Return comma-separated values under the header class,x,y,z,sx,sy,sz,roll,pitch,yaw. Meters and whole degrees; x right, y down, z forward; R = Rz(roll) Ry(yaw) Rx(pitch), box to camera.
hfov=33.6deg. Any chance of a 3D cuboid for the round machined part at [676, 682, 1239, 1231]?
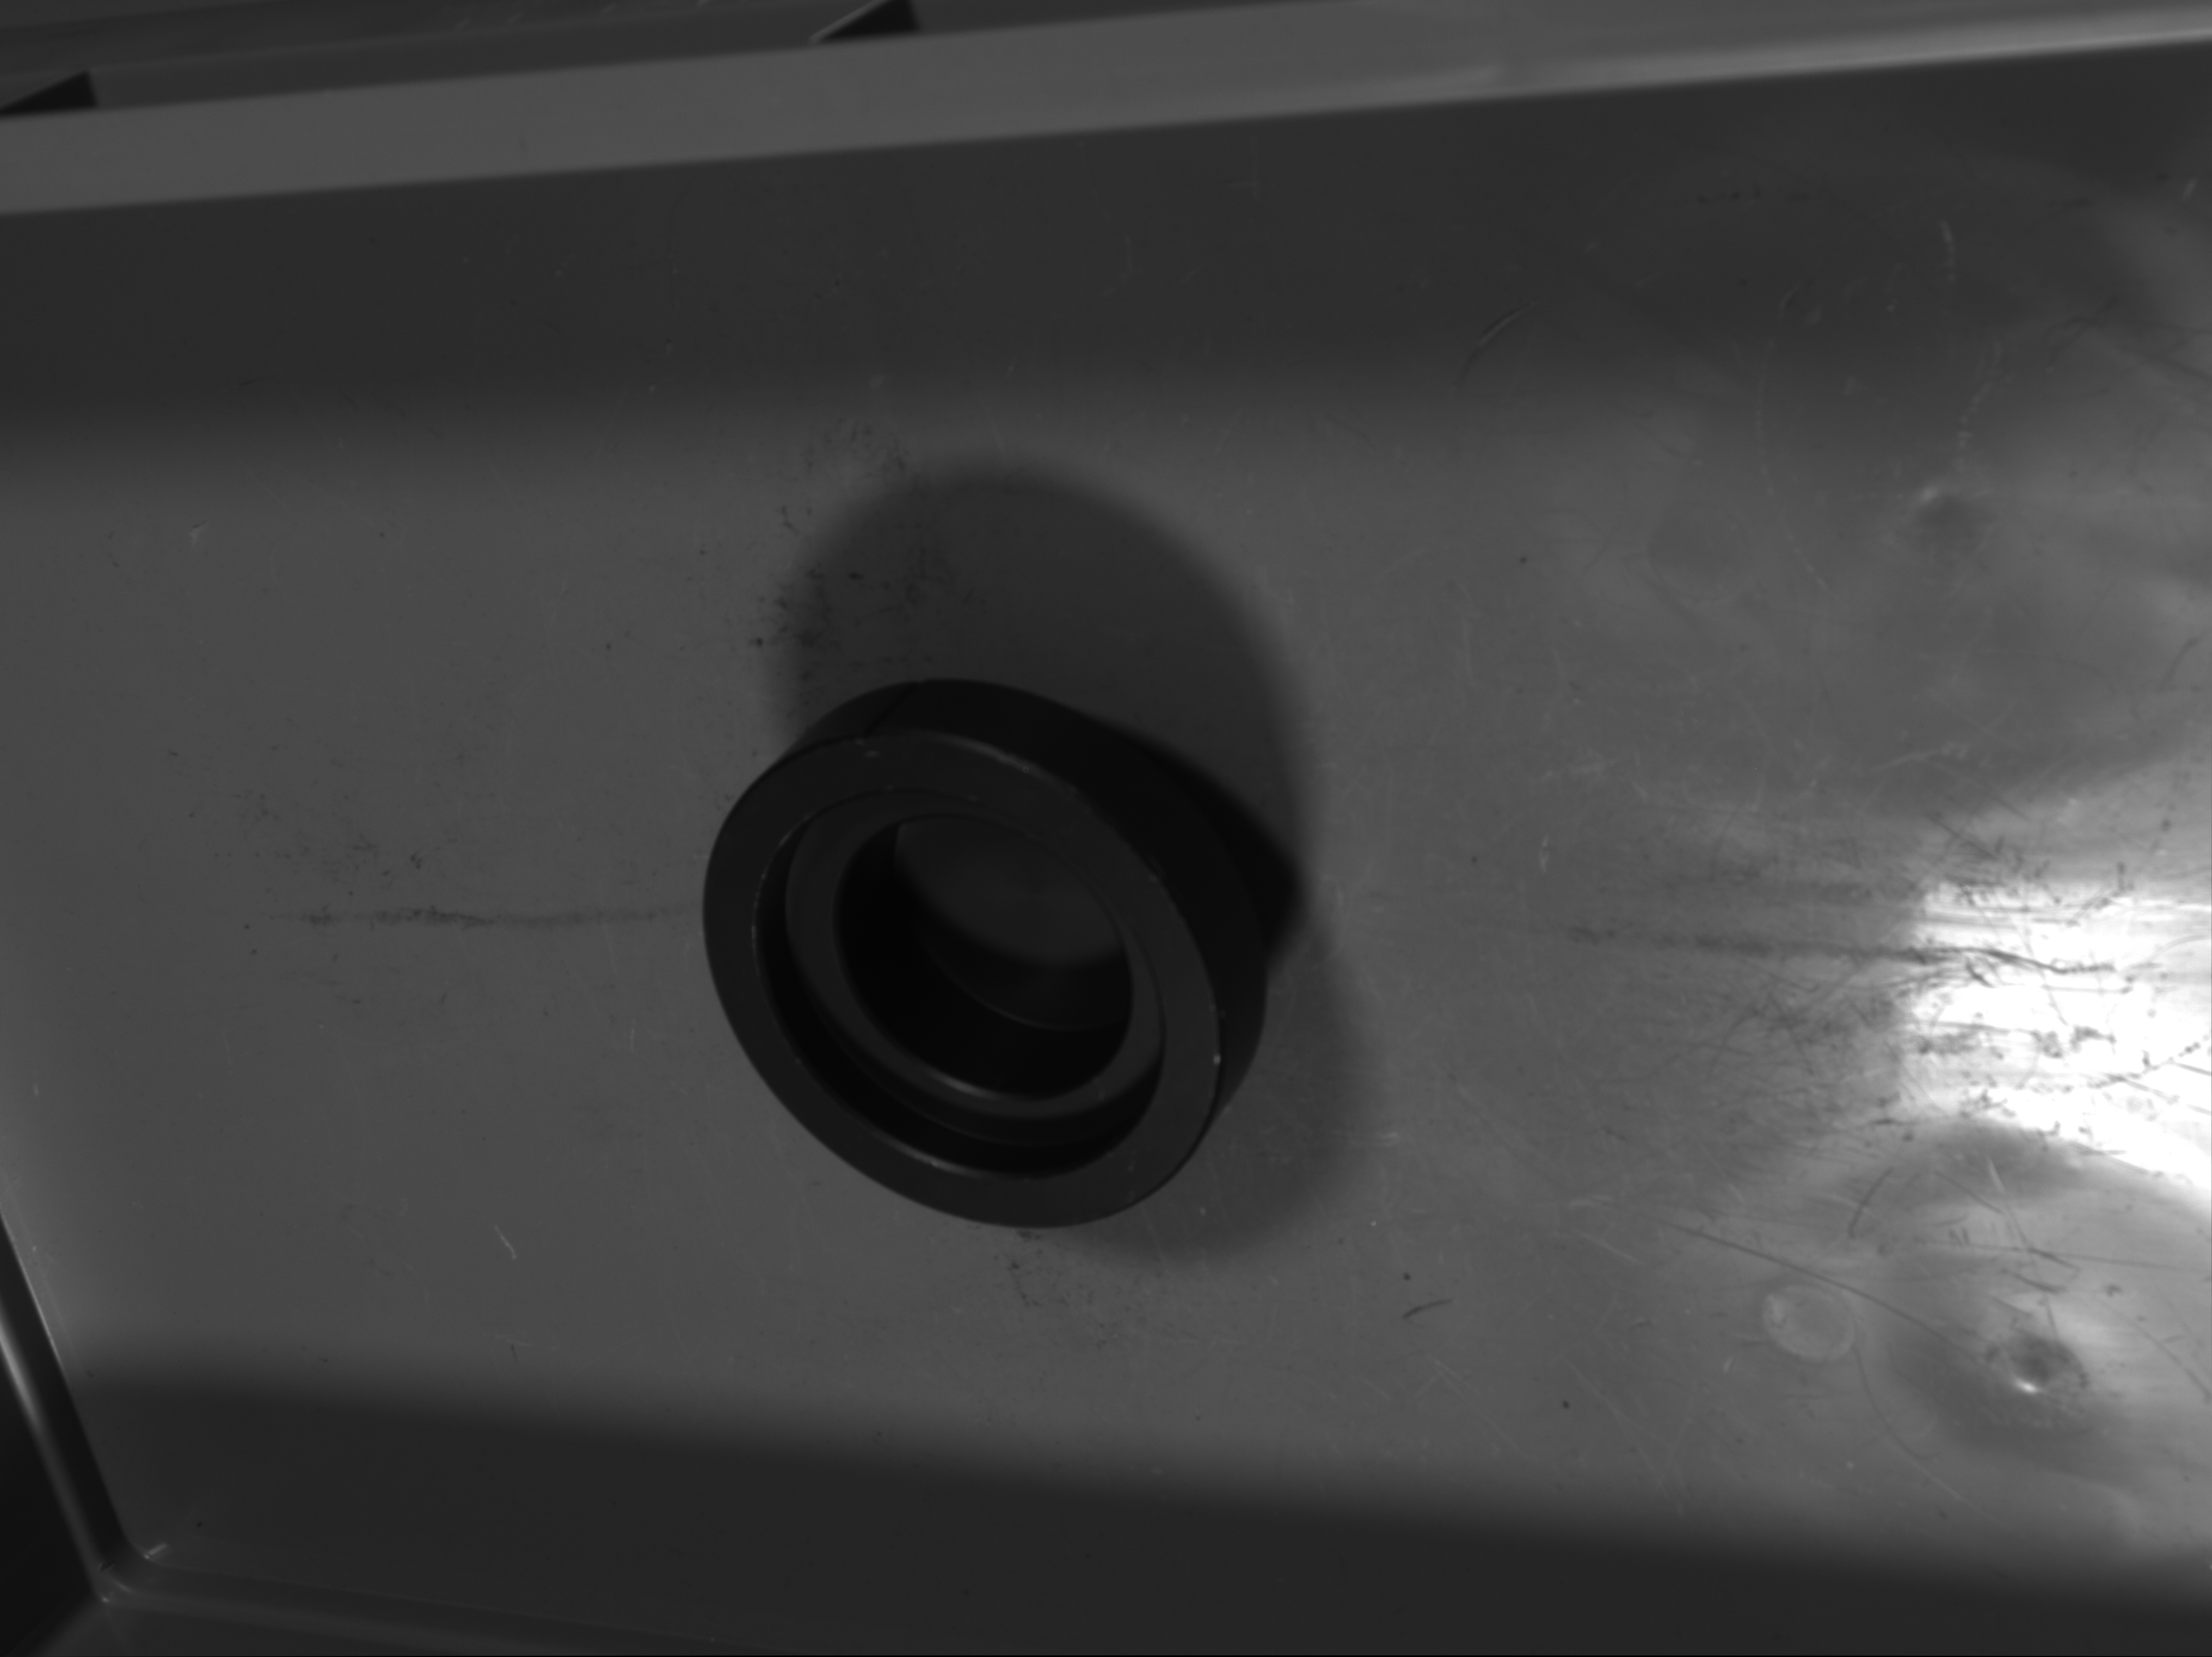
class,x,y,z,sx,sy,sz,roll,pitch,yaw
round machined part,-0.022,0.018,0.638,0.098,0.042,0.098,12,123,20
